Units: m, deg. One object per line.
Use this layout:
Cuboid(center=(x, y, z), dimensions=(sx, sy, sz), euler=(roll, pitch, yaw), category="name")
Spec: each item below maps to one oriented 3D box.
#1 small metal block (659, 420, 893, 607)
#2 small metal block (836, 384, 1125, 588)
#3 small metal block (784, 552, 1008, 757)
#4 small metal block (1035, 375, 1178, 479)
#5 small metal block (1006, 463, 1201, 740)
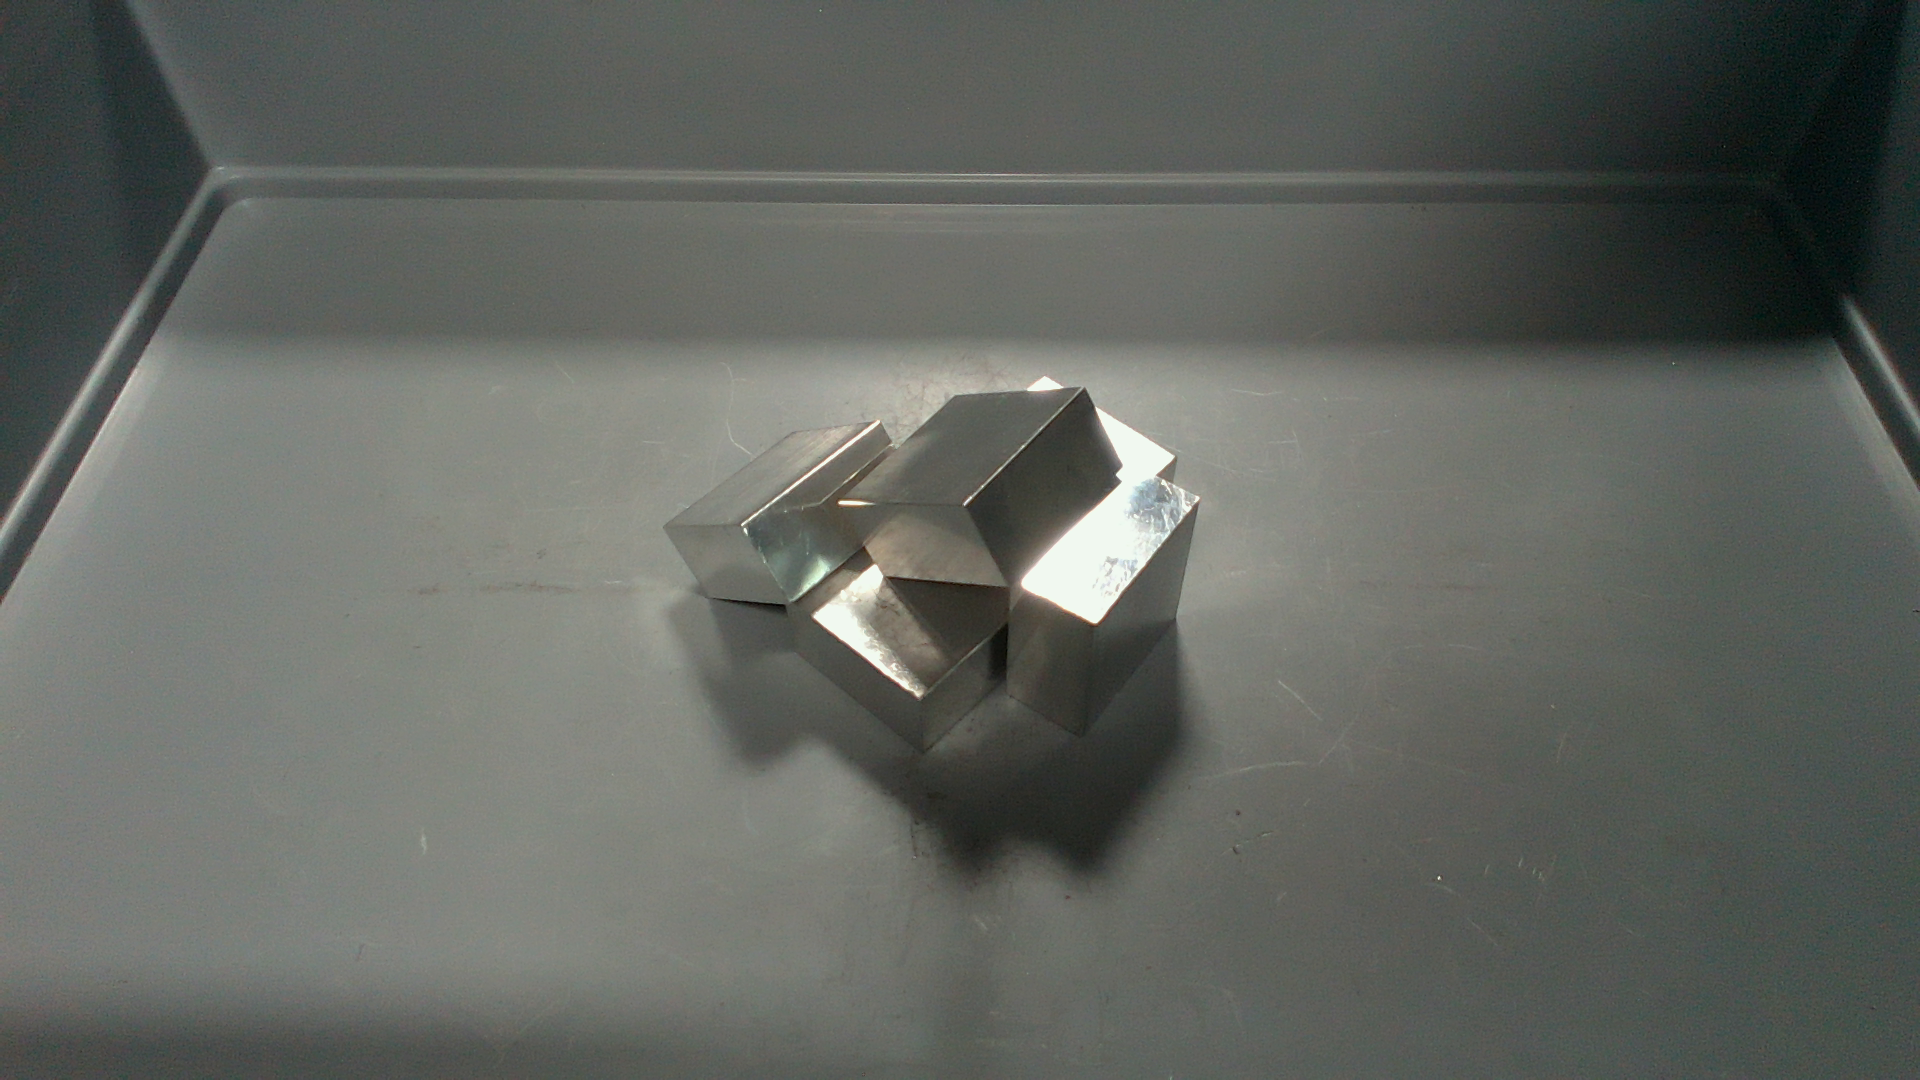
Cuboid(center=(-0.047, -0.007, 0.380), dimensions=(0.050, 0.025, 0.050), euler=(-40, 22, -28), category="small metal block")
Cuboid(center=(0.005, -0.014, 0.354), dimensions=(0.050, 0.025, 0.050), euler=(2, 39, 49), category="small metal block")
Cuboid(center=(-0.012, 0.021, 0.372), dimensions=(0.050, 0.025, 0.050), euler=(35, 58, 26), category="small metal block")
Cuboid(center=(0.027, -0.015, 0.402), dimensions=(0.050, 0.025, 0.050), euler=(35, 58, 26), category="small metal block")
Cuboid(center=(0.037, 0.015, 0.361), dimensions=(0.025, 0.050, 0.050), euler=(28, 55, 22), category="small metal block")
